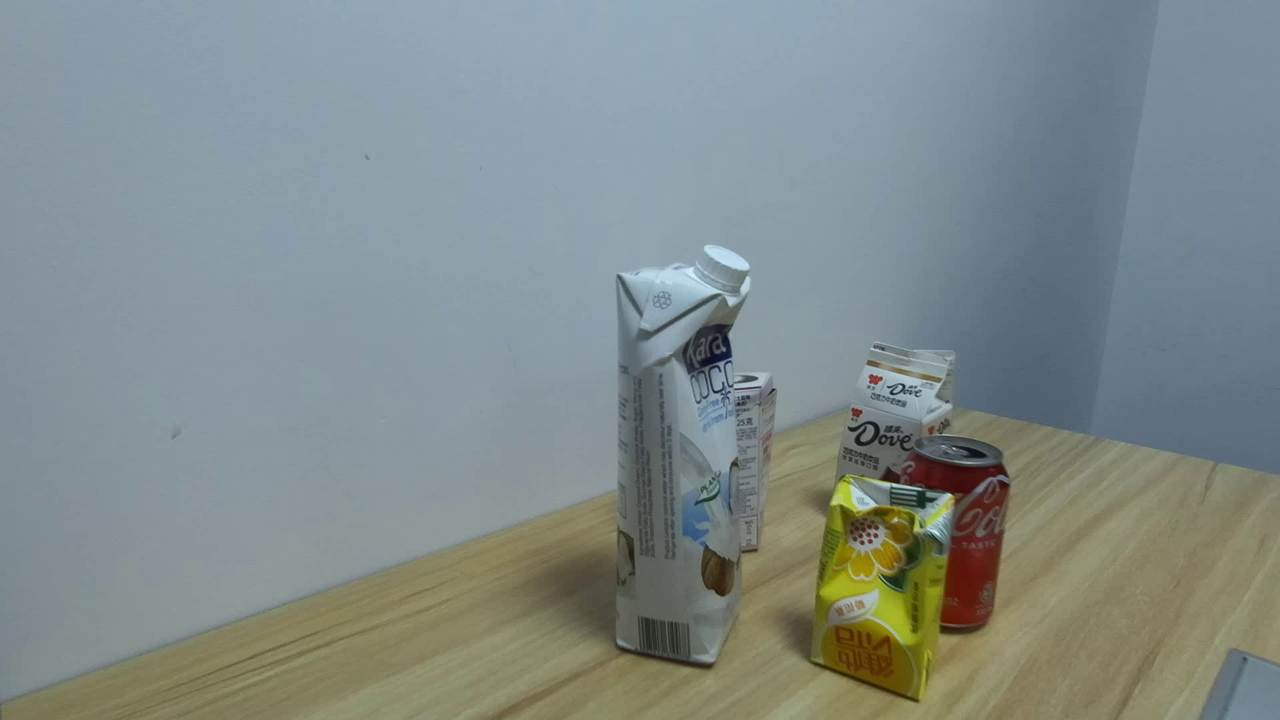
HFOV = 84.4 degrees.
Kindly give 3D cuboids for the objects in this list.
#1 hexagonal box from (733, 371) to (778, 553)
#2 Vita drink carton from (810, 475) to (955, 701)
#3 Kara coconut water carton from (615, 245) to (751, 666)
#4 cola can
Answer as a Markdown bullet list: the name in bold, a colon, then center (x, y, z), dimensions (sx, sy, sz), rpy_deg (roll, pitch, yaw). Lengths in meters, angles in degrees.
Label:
- **hexagonal box**: center (0.063, 0.080, 0.571), dimensions (0.085, 0.135, 0.092), rpy_deg (3, 14, 17)
- **Vita drink carton**: center (0.139, 0.129, 0.410), dimensions (0.071, 0.109, 0.047), rpy_deg (8, 11, 33)
- **Kara coconut water carton**: center (0.028, 0.054, 0.433), dimensions (0.071, 0.244, 0.100), rpy_deg (5, 15, 20)
- **cola can**: center (0.206, 0.113, 0.471), dimensions (0.068, 0.120, 0.068), rpy_deg (2, 13, 0)
